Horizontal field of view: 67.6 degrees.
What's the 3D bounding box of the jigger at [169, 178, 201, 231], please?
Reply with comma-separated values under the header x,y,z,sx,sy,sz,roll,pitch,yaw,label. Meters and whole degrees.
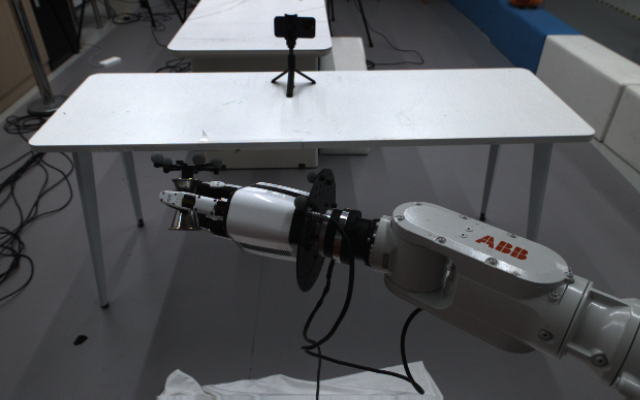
x,y,z,sx,sy,sz,roll,pitch,yaw,label
-0.182,0.007,0.655,0.043,0.071,0.043,1,-4,0,jigger
